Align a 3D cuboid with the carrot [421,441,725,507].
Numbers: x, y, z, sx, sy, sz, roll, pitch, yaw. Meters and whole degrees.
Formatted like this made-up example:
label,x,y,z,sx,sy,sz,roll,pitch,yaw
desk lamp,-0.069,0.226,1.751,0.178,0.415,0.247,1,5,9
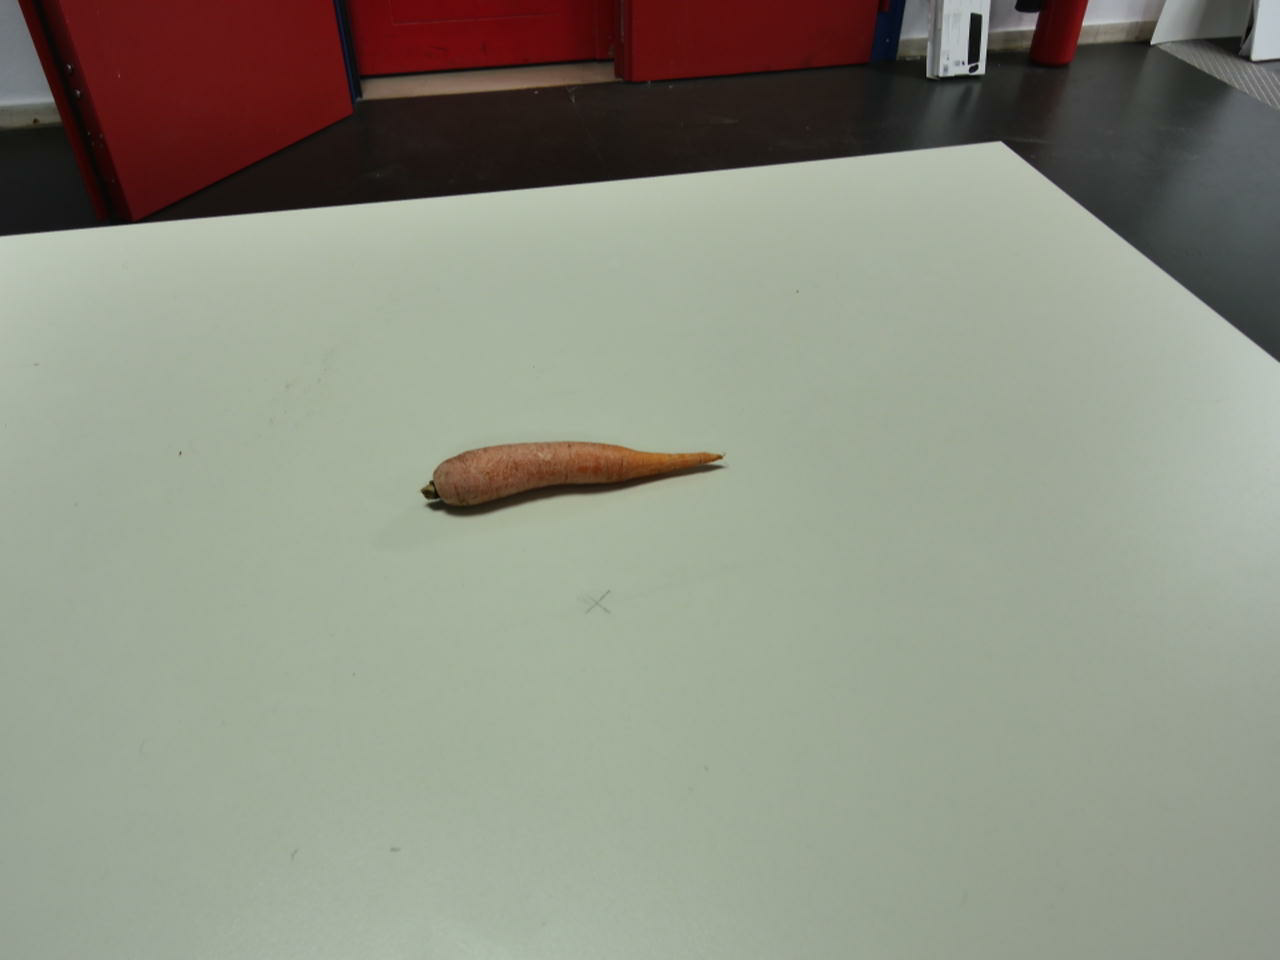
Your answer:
label,x,y,z,sx,sy,sz,roll,pitch,yaw
carrot,-0.036,-0.009,0.541,0.163,0.029,0.031,-8,40,-10
